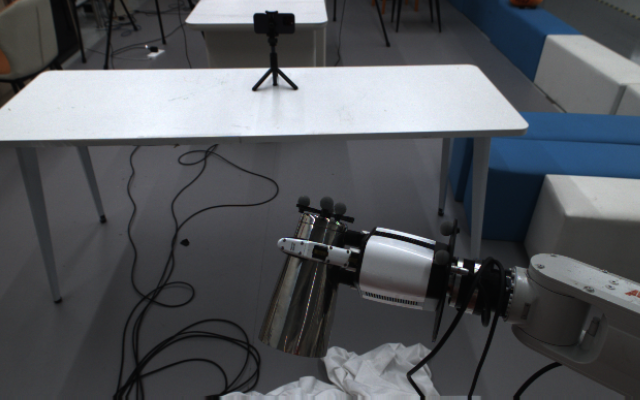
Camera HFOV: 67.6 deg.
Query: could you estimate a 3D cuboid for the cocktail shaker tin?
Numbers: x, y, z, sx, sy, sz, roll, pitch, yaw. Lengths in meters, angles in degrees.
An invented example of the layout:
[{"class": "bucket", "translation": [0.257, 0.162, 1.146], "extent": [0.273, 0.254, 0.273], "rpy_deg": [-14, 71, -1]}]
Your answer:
[{"class": "cocktail shaker tin", "translation": [-0.013, 0.107, 0.641], "extent": [0.093, 0.170, 0.093], "rpy_deg": [15, -5, 1]}]
